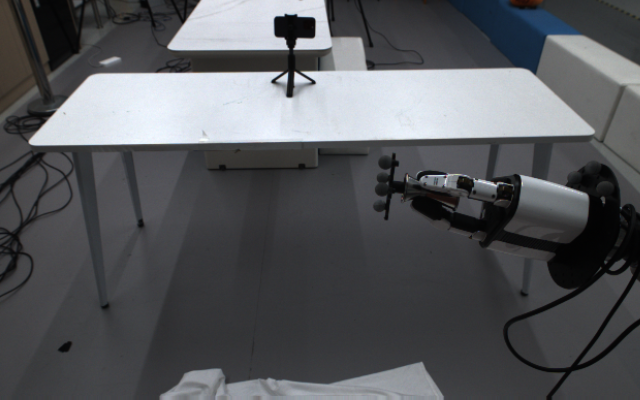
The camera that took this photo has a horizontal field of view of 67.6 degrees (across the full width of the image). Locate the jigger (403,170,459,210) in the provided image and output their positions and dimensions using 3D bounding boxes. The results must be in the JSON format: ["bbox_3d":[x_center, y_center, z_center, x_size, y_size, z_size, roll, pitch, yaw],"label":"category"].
[{"bbox_3d":[0.148,-0.016,0.622,0.071,0.043,0.043,6,35,4],"label":"jigger"}]
